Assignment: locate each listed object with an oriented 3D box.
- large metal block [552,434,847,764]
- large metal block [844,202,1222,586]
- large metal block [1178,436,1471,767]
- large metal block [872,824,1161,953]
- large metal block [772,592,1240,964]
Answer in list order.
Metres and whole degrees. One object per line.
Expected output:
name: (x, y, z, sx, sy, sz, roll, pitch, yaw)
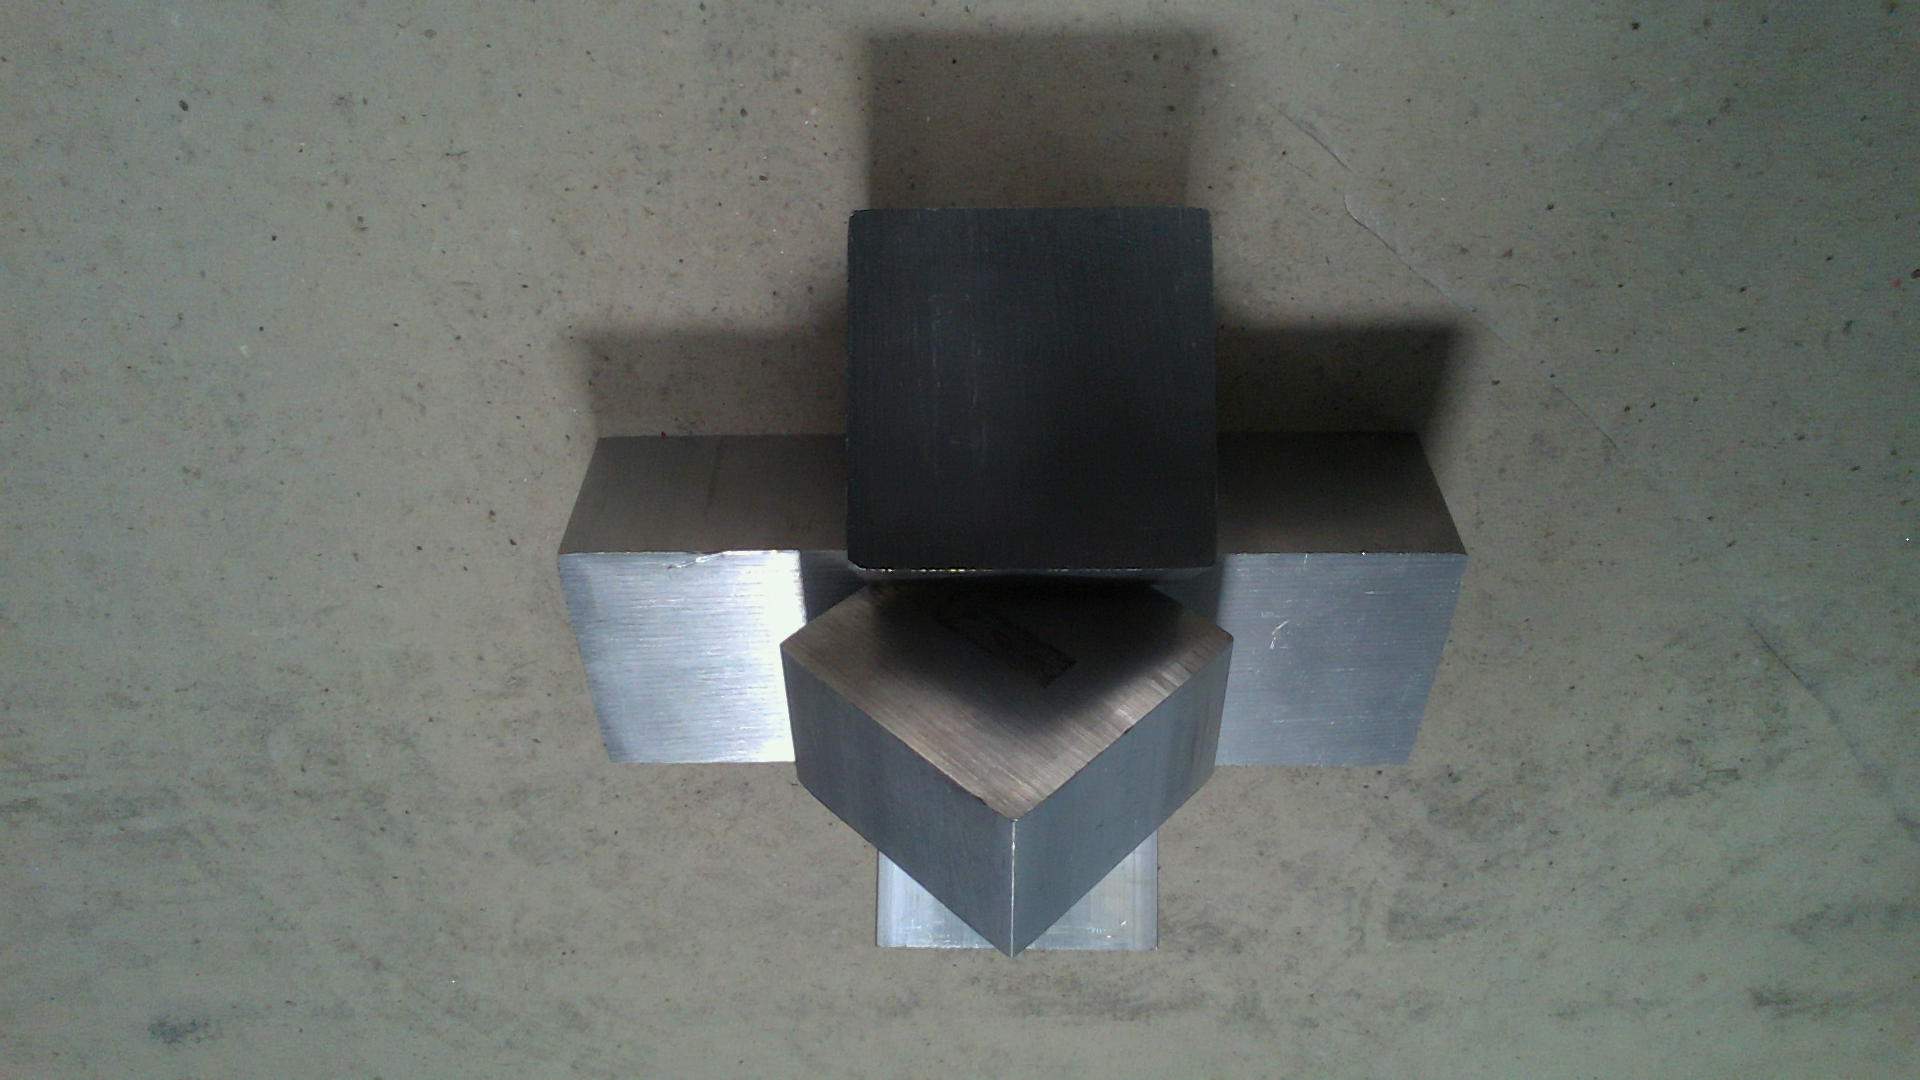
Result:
large metal block: (-0.062, 0.017, 0.389, 0.080, 0.050, 0.080, -1, 130, 0)
large metal block: (0.016, -0.031, 0.321, 0.080, 0.080, 0.050, 0, 174, 0)
large metal block: (0.087, 0.018, 0.386, 0.080, 0.050, 0.080, 0, 130, 0)
large metal block: (0.016, 0.091, 0.424, 0.080, 0.080, 0.050, 2, 87, 0)
large metal block: (0.011, 0.044, 0.348, 0.080, 0.080, 0.050, 32, 140, 33)
